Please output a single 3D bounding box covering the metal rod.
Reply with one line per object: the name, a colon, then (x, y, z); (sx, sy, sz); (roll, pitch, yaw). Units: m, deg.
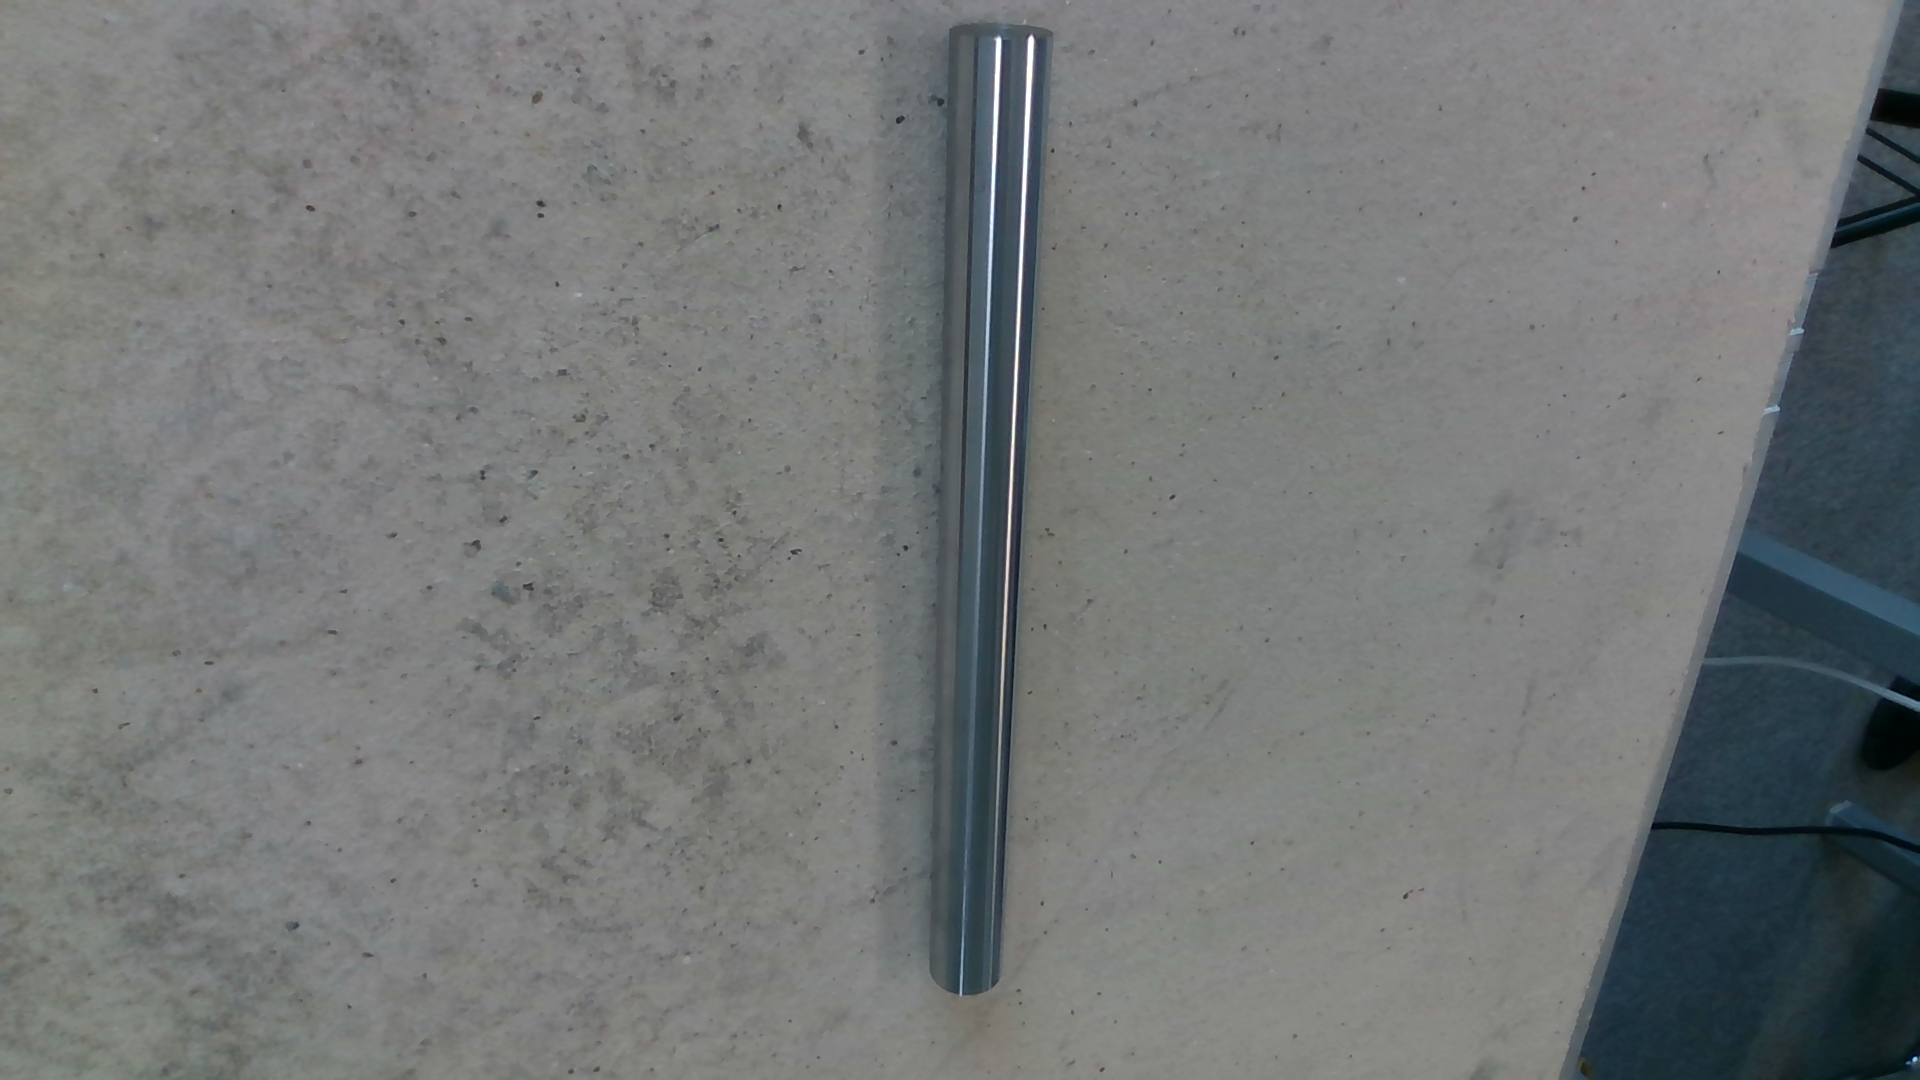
metal rod: (0.006, 0.011, 0.398); (0.025, 0.025, 0.301); (-13, 121, -26)
